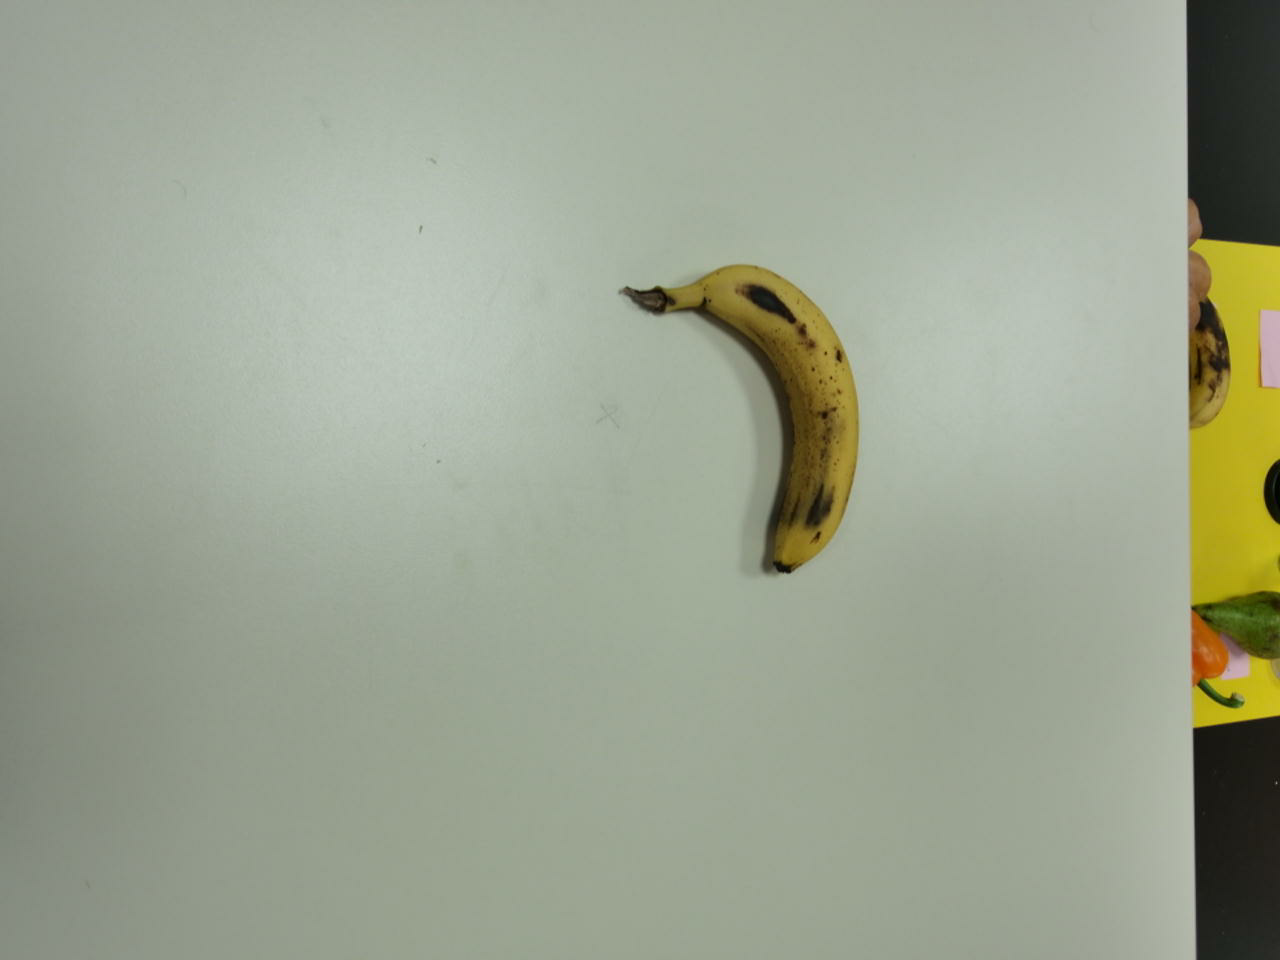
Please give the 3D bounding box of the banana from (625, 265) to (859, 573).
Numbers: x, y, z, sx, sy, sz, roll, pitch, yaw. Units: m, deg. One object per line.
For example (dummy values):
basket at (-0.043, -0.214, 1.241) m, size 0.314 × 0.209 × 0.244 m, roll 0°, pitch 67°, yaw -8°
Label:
banana at (0.081, -0.047, 0.589) m, size 0.097 × 0.038 × 0.186 m, roll -30°, pitch 101°, yaw -19°
